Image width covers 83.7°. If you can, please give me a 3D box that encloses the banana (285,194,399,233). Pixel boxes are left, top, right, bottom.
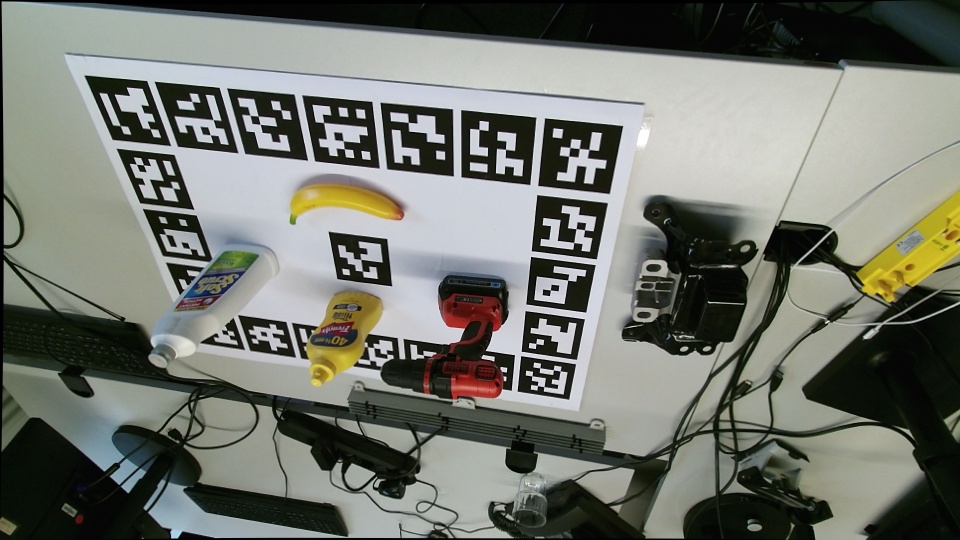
[{"bbox_3d":[-0.224,-0.084,0.837,0.198,0.039,0.074,1,123,8],"label":"banana"}]

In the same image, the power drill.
[{"bbox_3d":[-0.062,0.128,0.834,0.185,0.186,0.057,0,125,7],"label":"power drill"}]

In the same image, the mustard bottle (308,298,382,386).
[{"bbox_3d":[-0.244,0.126,0.910,0.096,0.191,0.058,1,125,13],"label":"mustard bottle"}]

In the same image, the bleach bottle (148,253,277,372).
[{"bbox_3d":[-0.437,0.069,0.871,0.103,0.250,0.068,14,126,3],"label":"bleach bottle"}]
